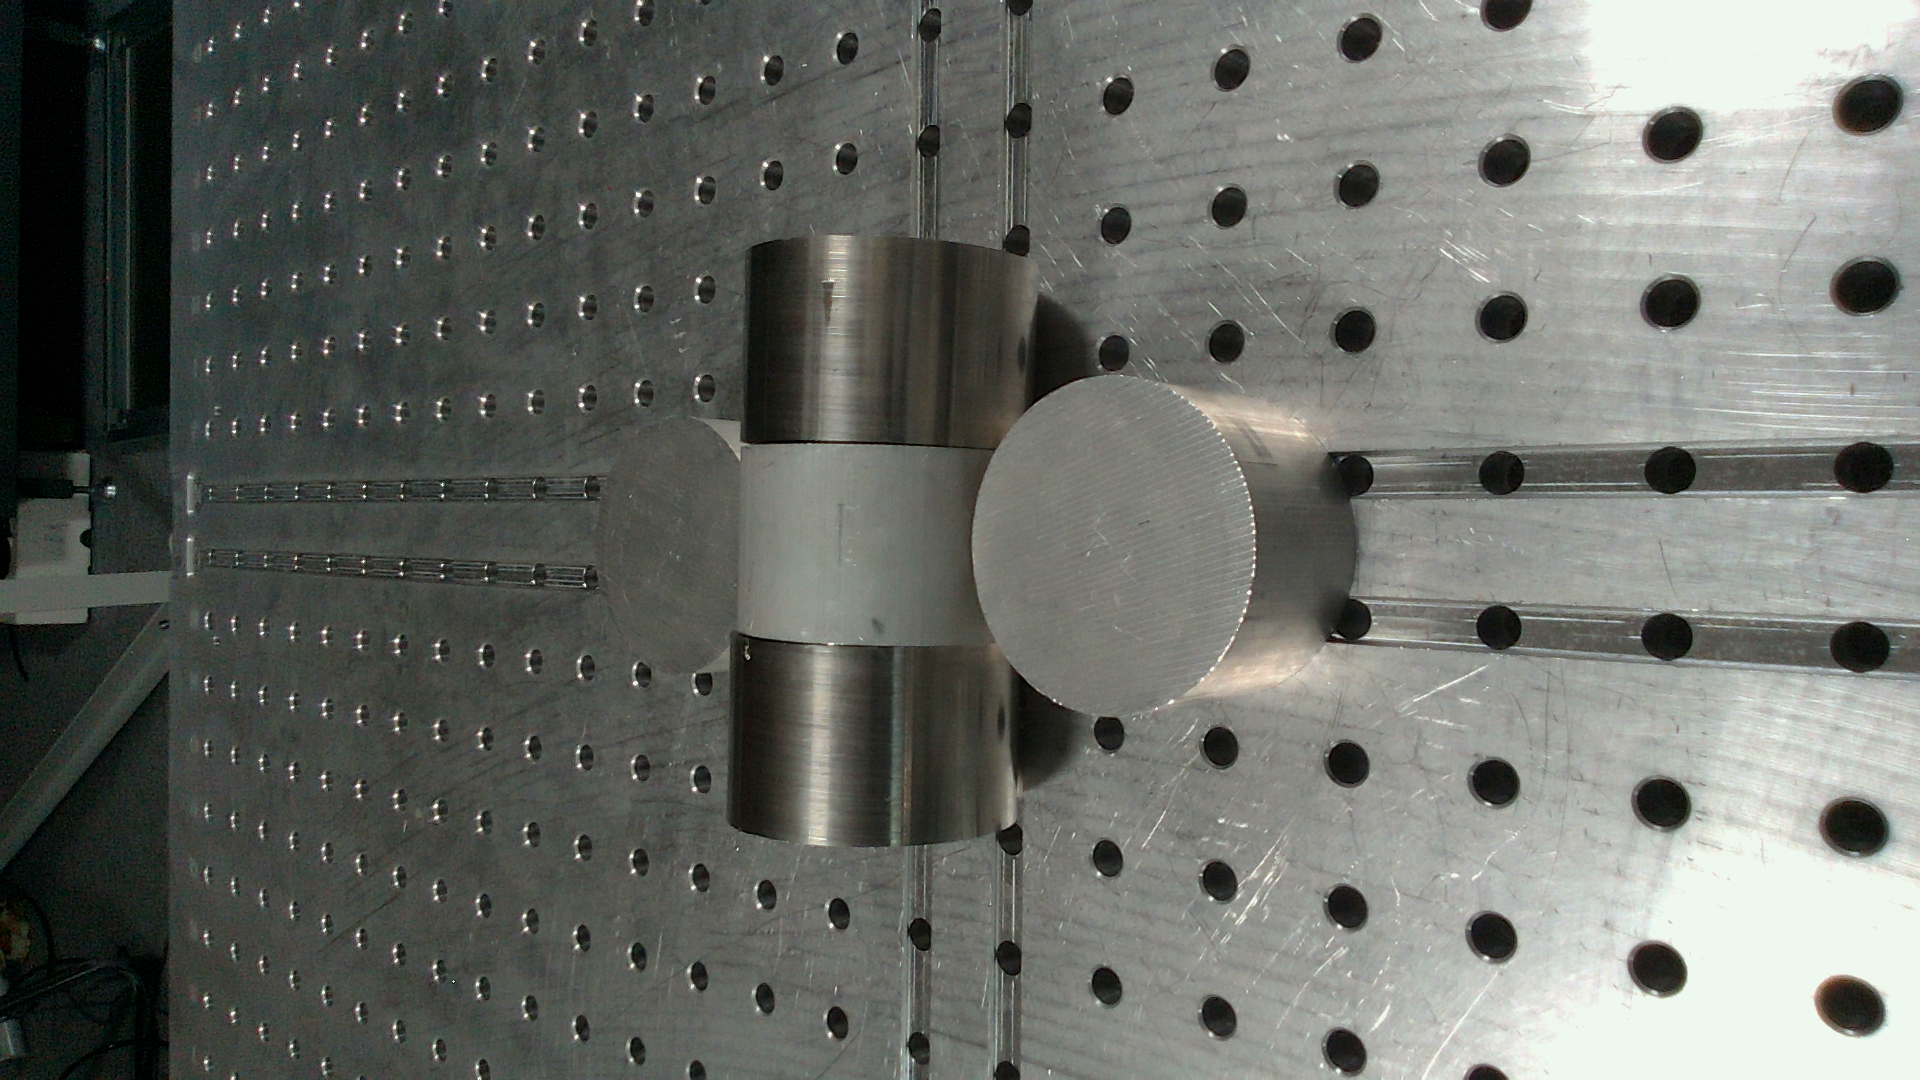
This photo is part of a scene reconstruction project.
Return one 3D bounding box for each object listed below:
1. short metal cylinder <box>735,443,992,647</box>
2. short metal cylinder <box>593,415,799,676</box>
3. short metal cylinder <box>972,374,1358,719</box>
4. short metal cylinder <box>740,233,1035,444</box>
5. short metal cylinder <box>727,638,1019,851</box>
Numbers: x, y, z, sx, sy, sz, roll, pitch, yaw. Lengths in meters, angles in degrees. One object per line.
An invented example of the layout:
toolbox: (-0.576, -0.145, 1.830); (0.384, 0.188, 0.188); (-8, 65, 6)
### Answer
short metal cylinder: (-0.021, 0.000, 0.379); (0.080, 0.080, 0.050); (2, 92, 40)
short metal cylinder: (-0.073, 0.002, 0.442); (0.080, 0.050, 0.080); (0, 90, 40)
short metal cylinder: (0.050, 0.001, 0.339); (0.080, 0.050, 0.080); (0, 90, 40)
short metal cylinder: (-0.020, -0.051, 0.377); (0.080, 0.080, 0.050); (3, 92, 40)
short metal cylinder: (-0.024, 0.052, 0.381); (0.080, 0.080, 0.050); (2, 91, 40)
